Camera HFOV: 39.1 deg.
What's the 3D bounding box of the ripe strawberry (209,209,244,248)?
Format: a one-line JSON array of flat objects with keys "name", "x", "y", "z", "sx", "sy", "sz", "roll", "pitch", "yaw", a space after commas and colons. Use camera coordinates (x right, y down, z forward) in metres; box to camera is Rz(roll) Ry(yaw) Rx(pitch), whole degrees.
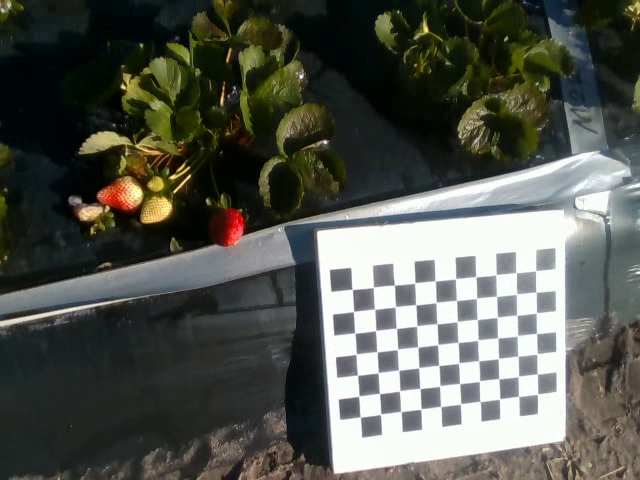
[{"name": "ripe strawberry", "x": -0.074, "y": -0.008, "z": 0.741, "sx": 0.036, "sy": 0.038, "sz": 0.046, "roll": -7, "pitch": 24, "yaw": -12}]
